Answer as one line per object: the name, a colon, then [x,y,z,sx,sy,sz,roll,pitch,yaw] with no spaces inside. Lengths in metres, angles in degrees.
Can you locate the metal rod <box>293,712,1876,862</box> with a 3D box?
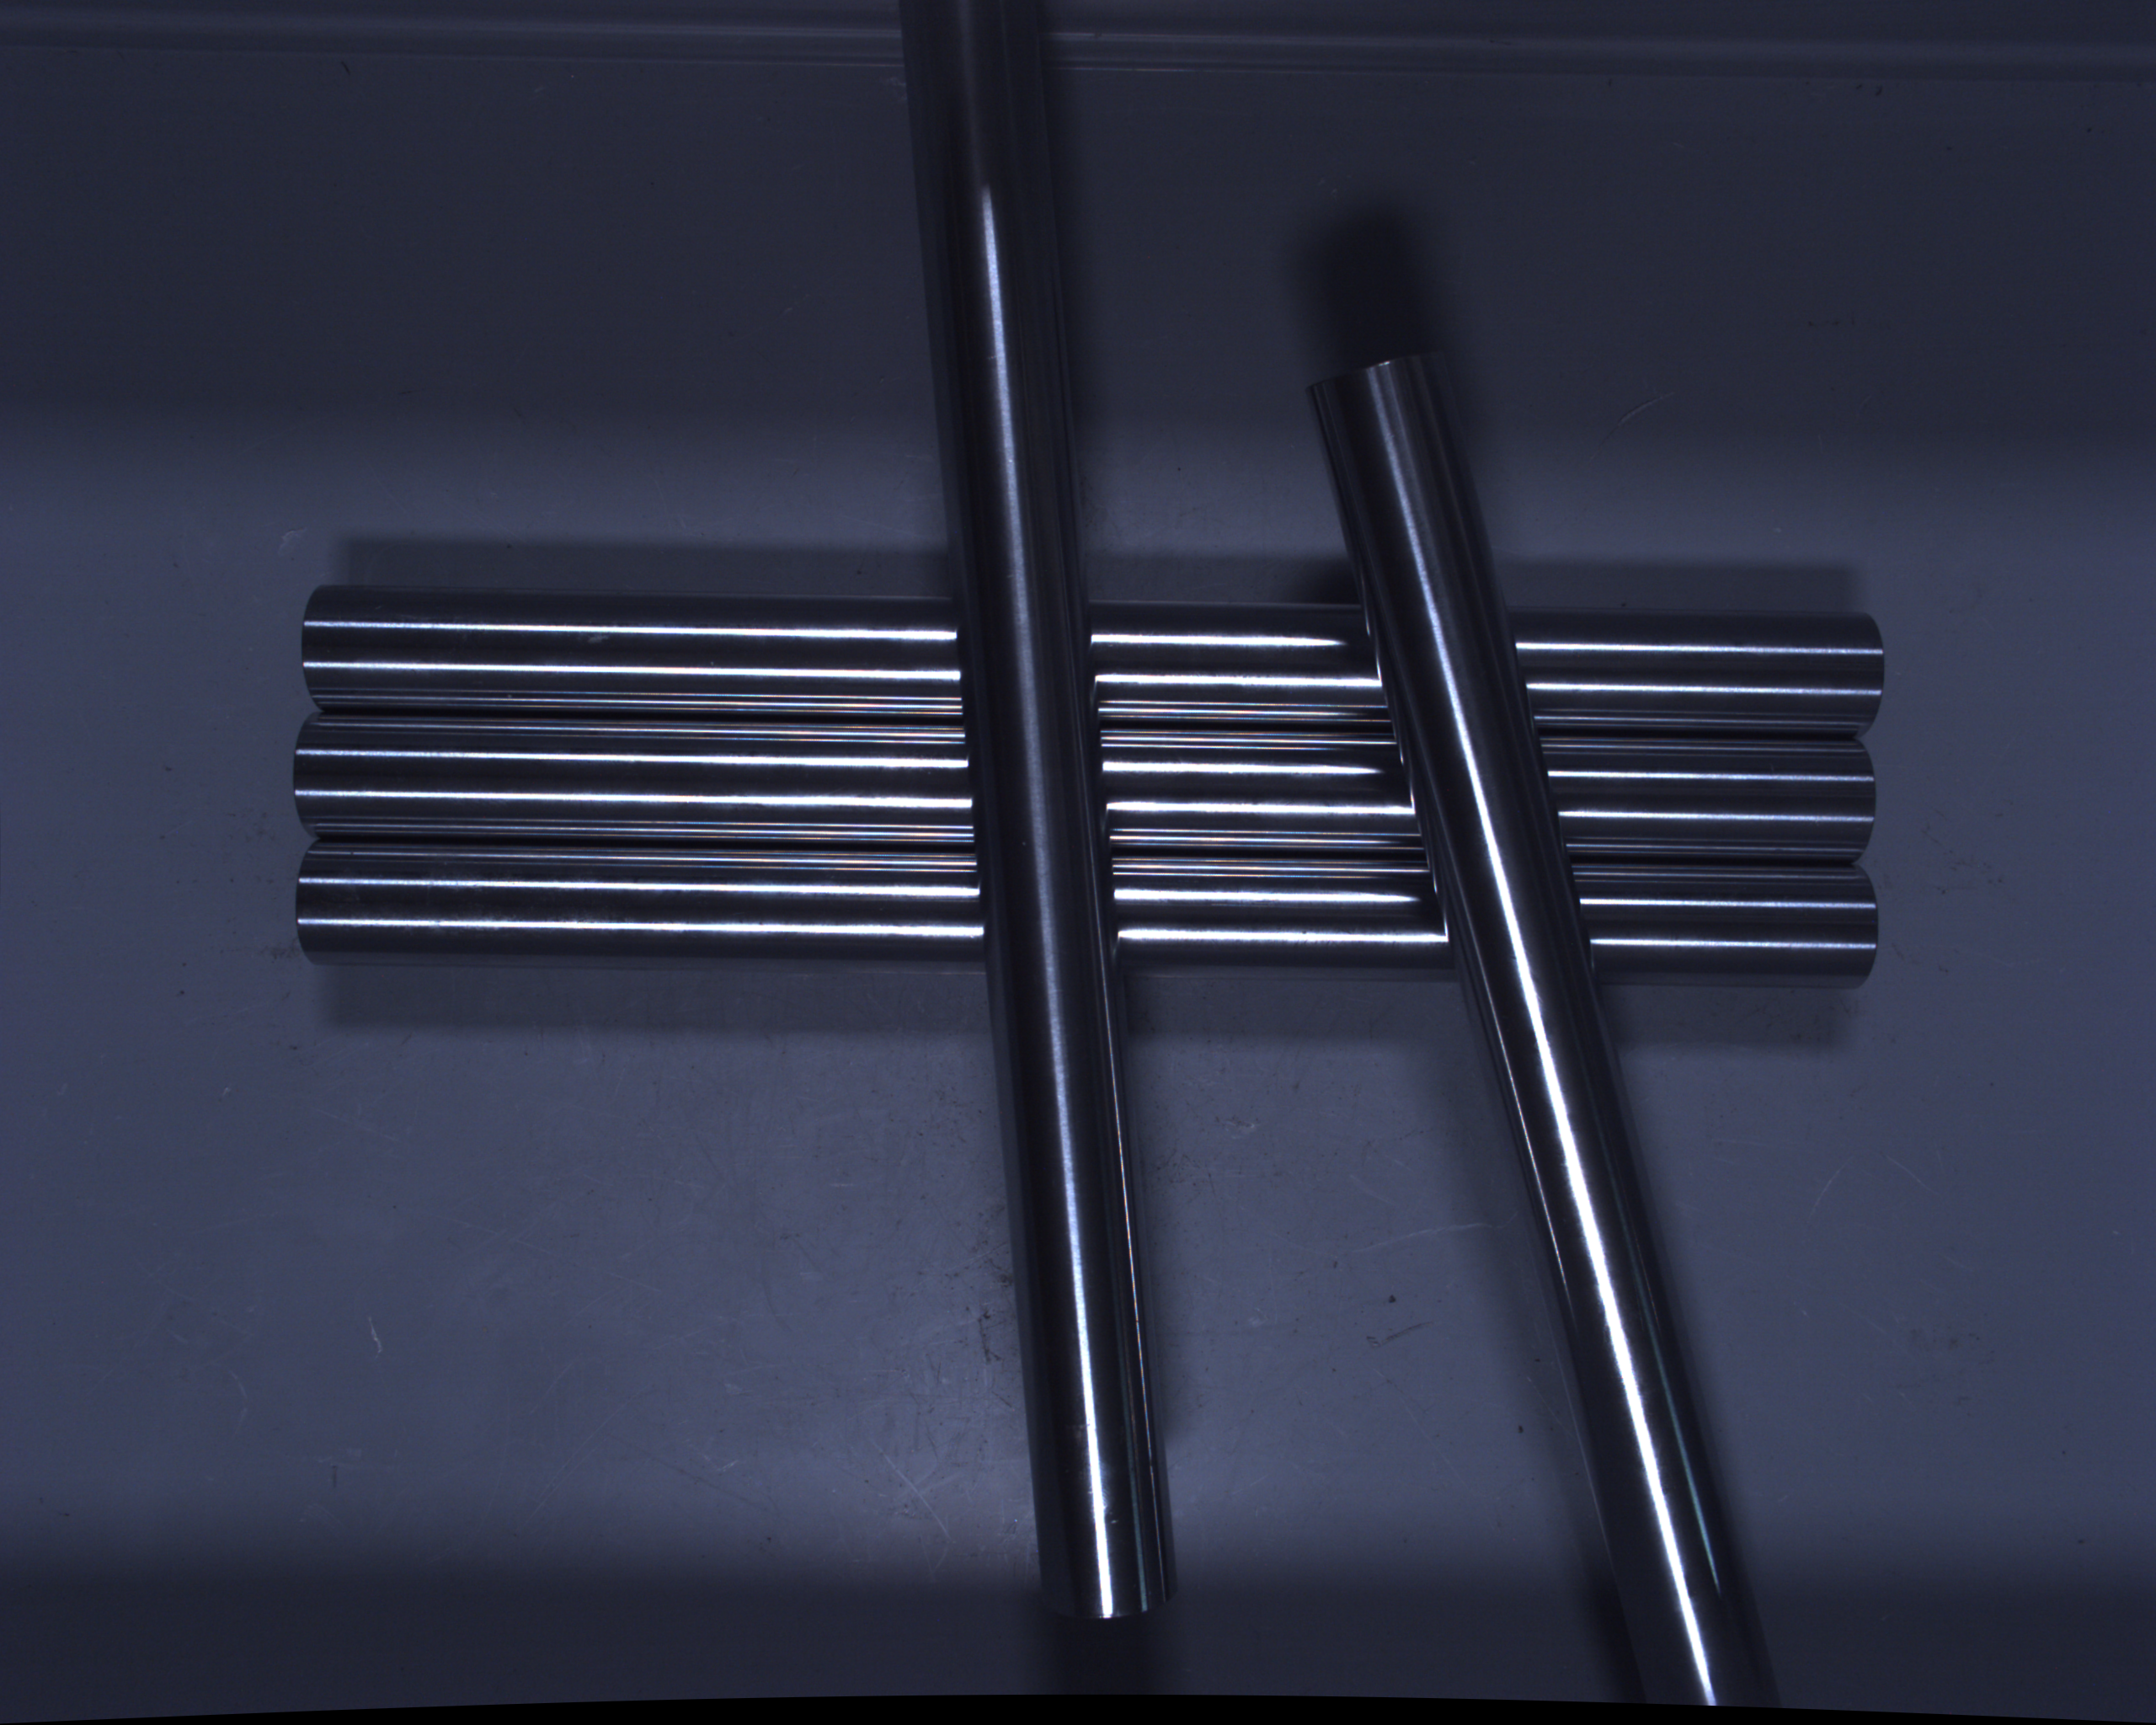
metal rod: [0.002,-0.015,0.410,0.302,0.025,0.025,1,90,-1]

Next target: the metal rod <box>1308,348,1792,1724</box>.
metal rod: [0.094,0.054,0.391,0.025,0.025,0.298,-16,97,0]

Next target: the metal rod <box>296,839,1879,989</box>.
metal rod: [0.003,0.010,0.410,0.302,0.025,0.025,1,90,-1]

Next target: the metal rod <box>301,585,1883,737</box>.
metal rod: [0.003,-0.040,0.410,0.302,0.025,0.025,1,90,-1]

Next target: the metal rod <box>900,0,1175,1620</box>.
metal rod: [-0.007,-0.013,0.385,0.025,0.025,0.298,-5,90,-1]
